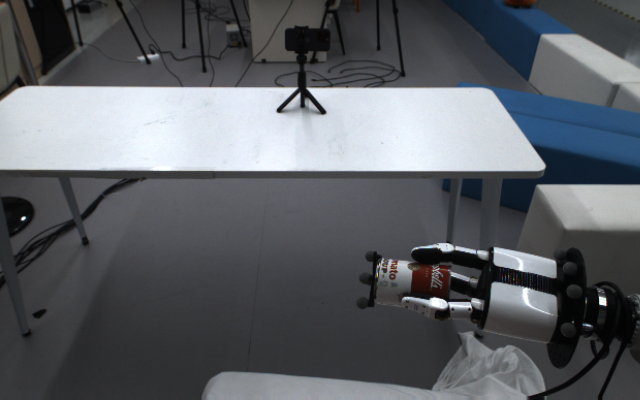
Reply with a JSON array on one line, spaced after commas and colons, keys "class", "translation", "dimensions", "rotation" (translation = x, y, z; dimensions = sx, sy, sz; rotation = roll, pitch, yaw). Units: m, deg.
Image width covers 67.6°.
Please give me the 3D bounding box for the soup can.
[{"class": "soup can", "translation": [0.135, 0.120, 0.690], "dimensions": [0.101, 0.067, 0.067], "rotation": [5, 34, 13]}]
